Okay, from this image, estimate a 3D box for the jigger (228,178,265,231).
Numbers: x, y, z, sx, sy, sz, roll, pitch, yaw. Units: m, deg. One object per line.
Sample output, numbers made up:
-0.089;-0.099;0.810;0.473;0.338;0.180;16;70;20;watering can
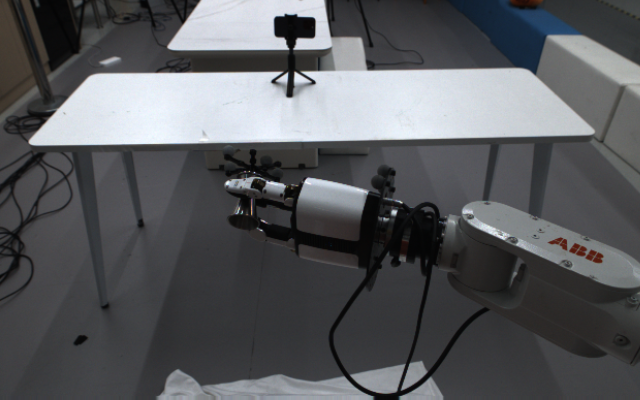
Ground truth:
-0.099;-0.002;0.652;0.043;0.043;0.071;4;60;2;jigger
